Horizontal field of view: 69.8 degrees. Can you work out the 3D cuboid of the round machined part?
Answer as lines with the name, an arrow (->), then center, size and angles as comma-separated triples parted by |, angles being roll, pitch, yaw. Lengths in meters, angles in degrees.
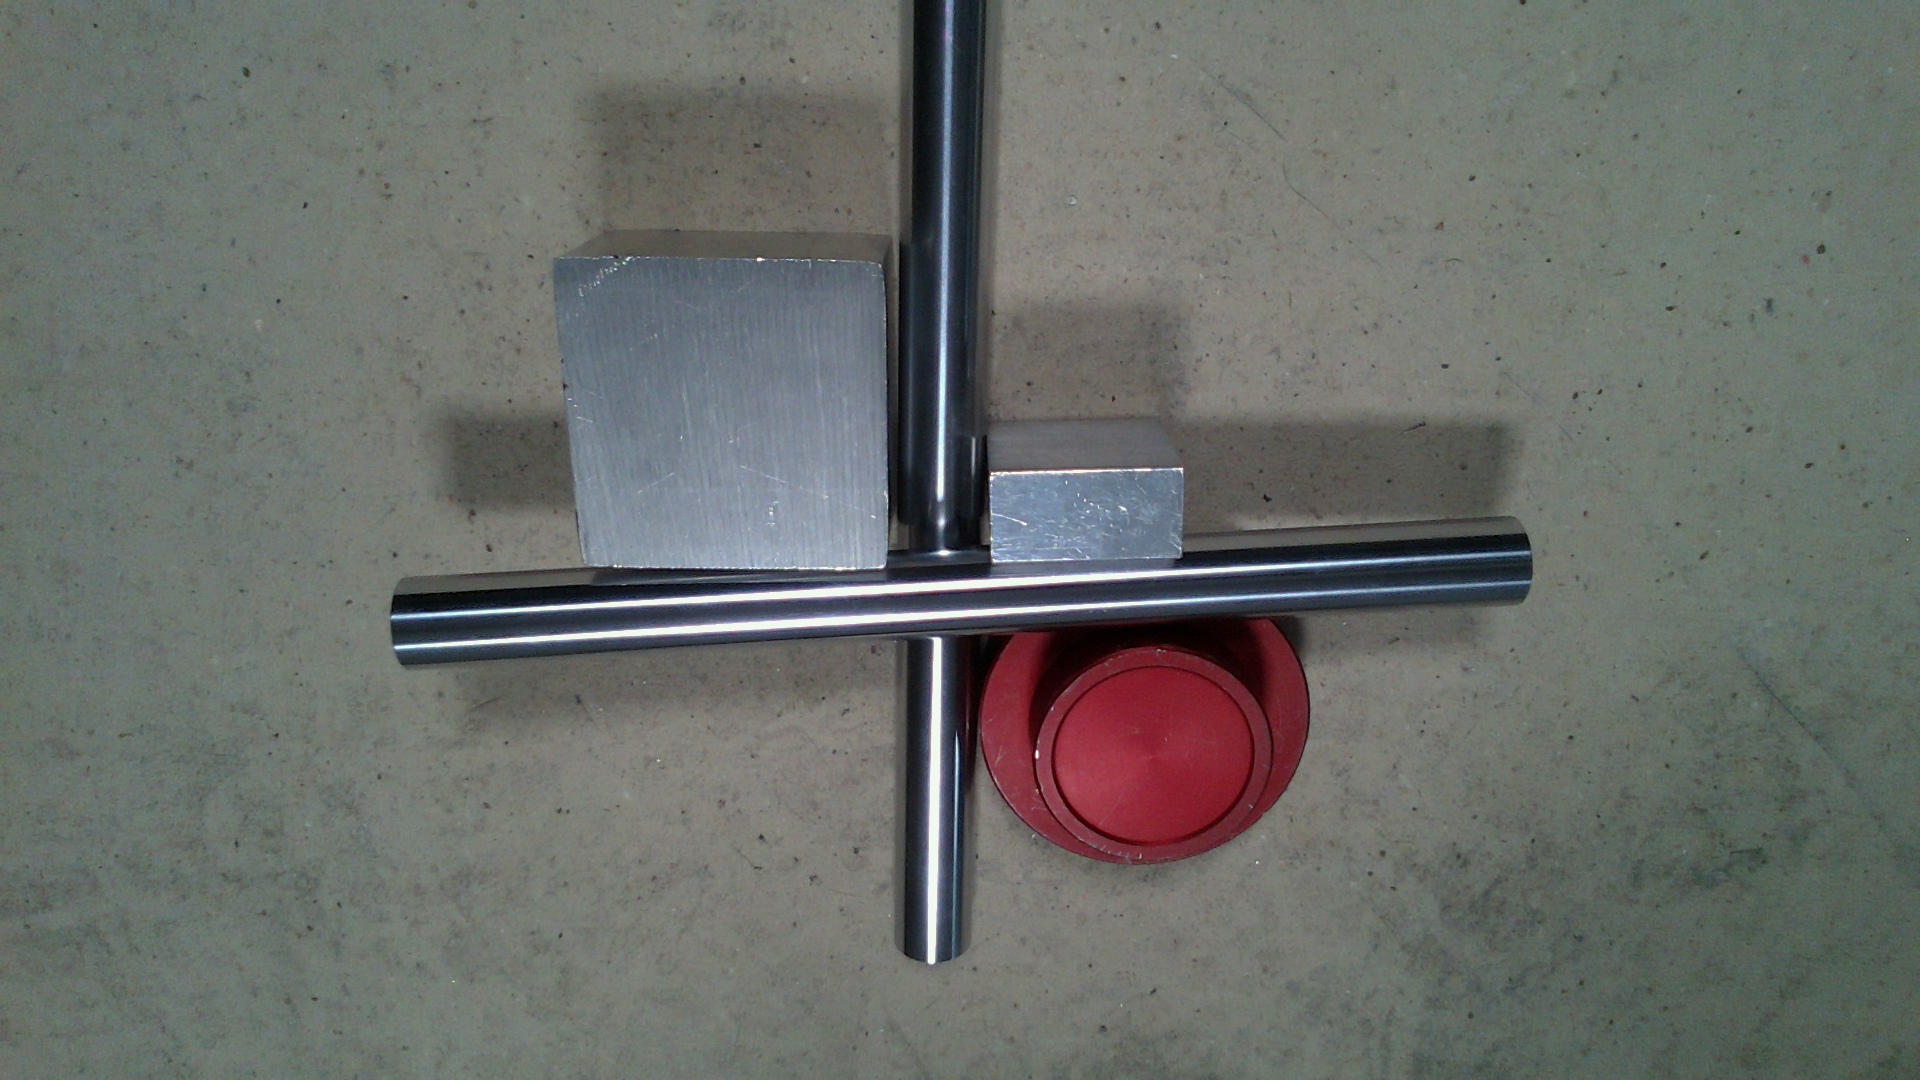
round machined part -> 0.054, 0.055, 0.405 | 0.098, 0.042, 0.098 | 0, 110, 0

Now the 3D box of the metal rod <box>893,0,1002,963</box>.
metal rod -> -0.005, -0.013, 0.389 | 0.025, 0.025, 0.300 | 1, 110, -1

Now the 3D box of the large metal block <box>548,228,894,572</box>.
large metal block -> -0.059, -0.038, 0.366 | 0.080, 0.050, 0.080 | 1, 110, 0

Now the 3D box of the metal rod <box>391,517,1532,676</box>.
metal rod -> 0.003, 0.015, 0.373 | 0.300, 0.025, 0.025 | -3, 110, -3

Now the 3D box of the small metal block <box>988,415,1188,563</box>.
small metal block -> 0.033, -0.015, 0.376 | 0.050, 0.050, 0.025 | -1, 110, 0
